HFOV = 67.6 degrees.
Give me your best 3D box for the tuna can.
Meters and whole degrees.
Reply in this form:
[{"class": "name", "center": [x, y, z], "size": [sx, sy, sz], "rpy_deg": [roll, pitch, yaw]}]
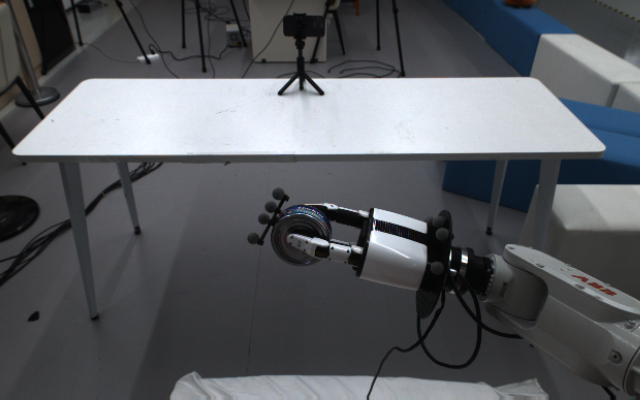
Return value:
[{"class": "tuna can", "center": [-0.023, 0.055, 0.693], "size": [0.085, 0.085, 0.034], "rpy_deg": [3, 21, 1]}]
